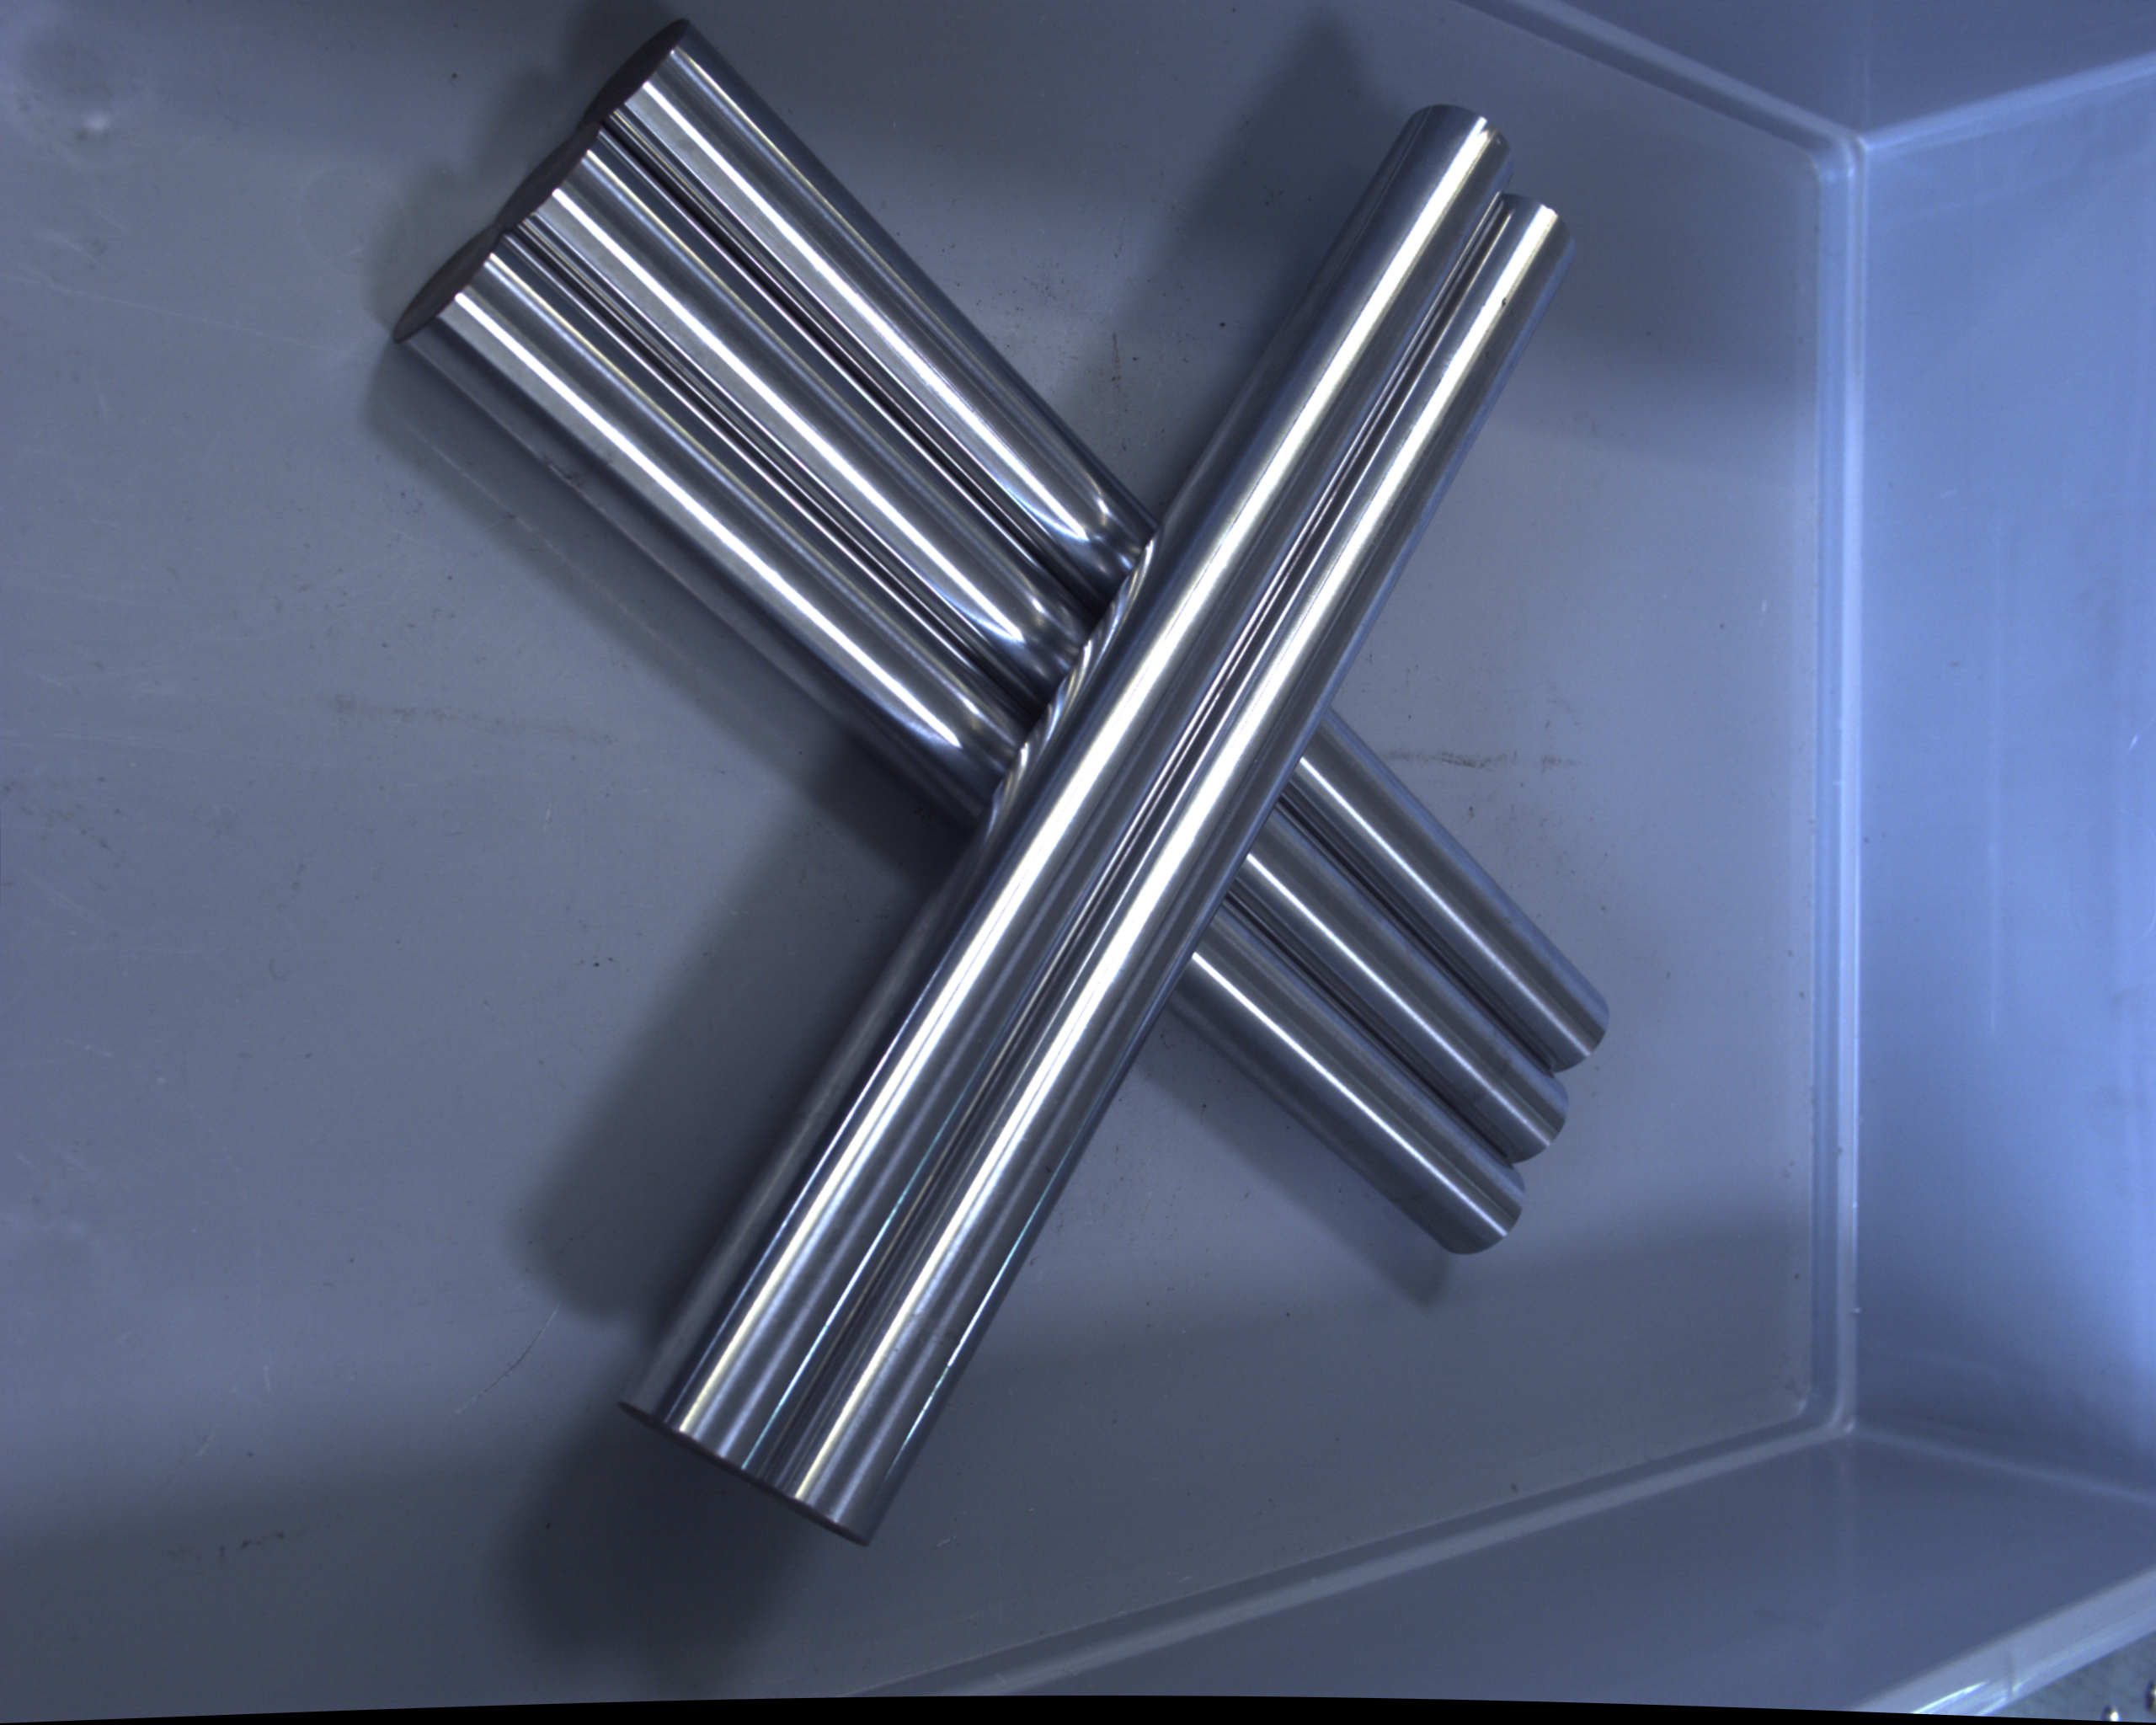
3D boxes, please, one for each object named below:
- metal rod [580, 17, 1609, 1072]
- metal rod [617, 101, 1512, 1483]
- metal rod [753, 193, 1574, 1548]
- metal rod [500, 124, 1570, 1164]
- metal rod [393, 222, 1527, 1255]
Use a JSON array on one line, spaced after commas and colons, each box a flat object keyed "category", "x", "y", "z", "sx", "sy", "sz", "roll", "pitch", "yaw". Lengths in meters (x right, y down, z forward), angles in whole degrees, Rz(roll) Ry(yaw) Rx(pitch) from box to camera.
[{"category": "metal rod", "x": 0.022, "y": -0.045, "z": 0.423, "sx": 0.300, "sy": 0.025, "sz": 0.025, "roll": 42, "pitch": 65, "yaw": -32}, {"category": "metal rod", "x": 0.010, "y": -0.030, "z": 0.380, "sx": 0.025, "sy": 0.025, "sz": 0.300, "roll": 45, "pitch": 63, "yaw": -31}, {"category": "metal rod", "x": 0.025, "y": -0.016, "z": 0.393, "sx": 0.025, "sy": 0.025, "sz": 0.300, "roll": 45, "pitch": 63, "yaw": -31}, {"category": "metal rod", "x": 0.010, "y": -0.024, "z": 0.413, "sx": 0.300, "sy": 0.025, "sz": 0.025, "roll": 42, "pitch": 65, "yaw": -32}, {"category": "metal rod", "x": -0.002, "y": -0.005, "z": 0.402, "sx": 0.300, "sy": 0.025, "sz": 0.025, "roll": 42, "pitch": 65, "yaw": -32}]
